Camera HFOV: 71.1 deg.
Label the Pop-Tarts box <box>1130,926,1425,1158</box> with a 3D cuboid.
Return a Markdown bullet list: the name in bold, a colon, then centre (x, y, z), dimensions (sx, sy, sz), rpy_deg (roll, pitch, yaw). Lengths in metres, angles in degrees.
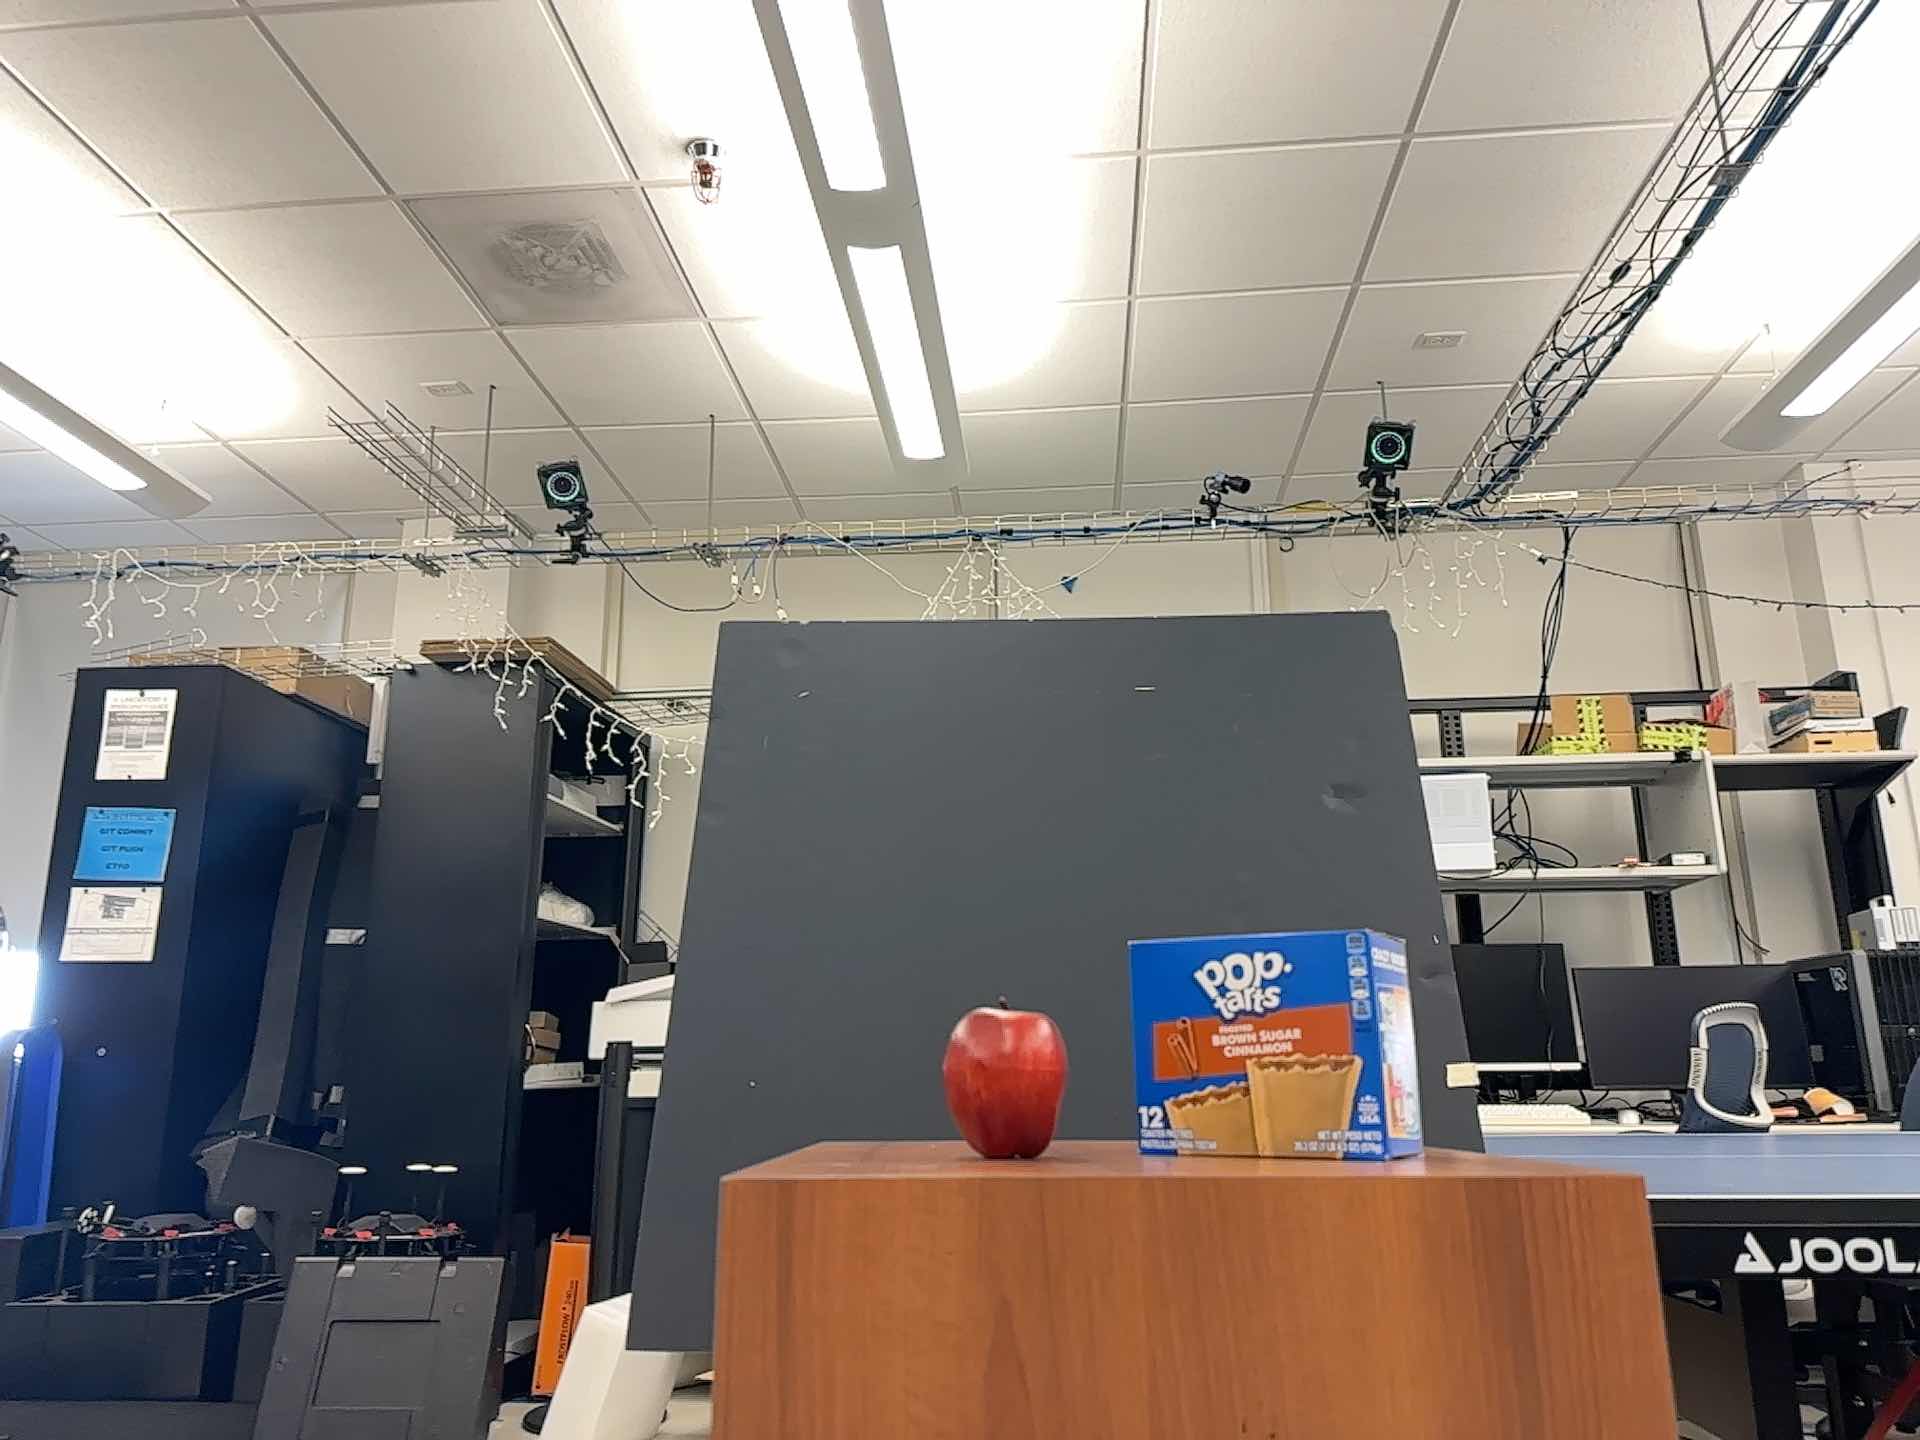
- **Pop-Tarts box**: centre (0.206, 0.215, 0.890), dimensions (0.161, 0.135, 0.075), rpy_deg (-10, -18, 32)

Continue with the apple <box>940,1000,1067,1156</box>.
- **apple**: centre (0.027, 0.222, 0.839), dimensions (0.079, 0.093, 0.079), rpy_deg (1, -14, 0)
